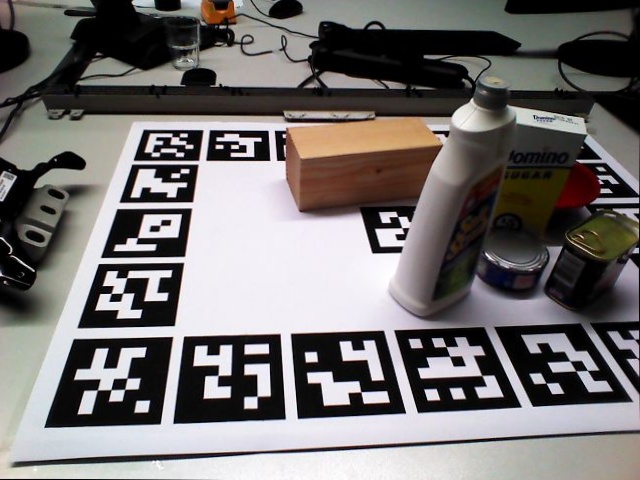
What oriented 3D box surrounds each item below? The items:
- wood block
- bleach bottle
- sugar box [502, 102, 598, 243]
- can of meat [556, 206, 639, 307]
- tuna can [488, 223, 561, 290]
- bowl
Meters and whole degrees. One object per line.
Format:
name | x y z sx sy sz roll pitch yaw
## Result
wood block | 0.067 -0.113 0.739 0.206 0.090 0.090 -7 45 -13
bleach bottle | 0.147 -0.044 0.529 0.102 0.252 0.068 -20 44 -24
sugar box | 0.259 -0.075 0.626 0.093 0.177 0.045 10 42 13
can of meat | 0.328 0.019 0.599 0.101 0.084 0.058 -22 42 -29
tuna can | 0.240 0.019 0.622 0.086 0.034 0.085 1 43 -1
bowl | 0.328 -0.080 0.736 0.162 0.055 0.161 -1 39 1
